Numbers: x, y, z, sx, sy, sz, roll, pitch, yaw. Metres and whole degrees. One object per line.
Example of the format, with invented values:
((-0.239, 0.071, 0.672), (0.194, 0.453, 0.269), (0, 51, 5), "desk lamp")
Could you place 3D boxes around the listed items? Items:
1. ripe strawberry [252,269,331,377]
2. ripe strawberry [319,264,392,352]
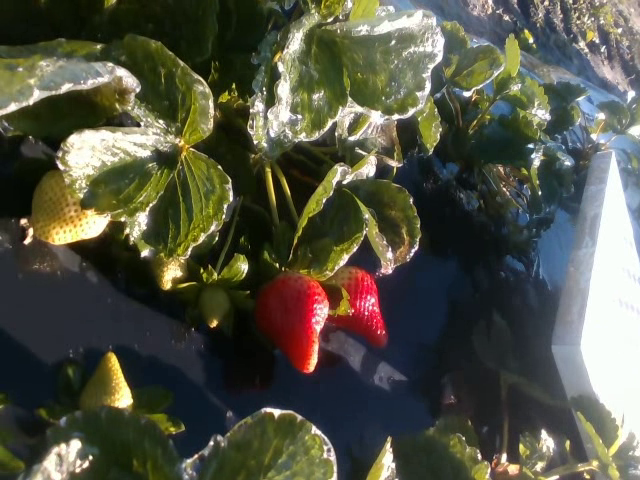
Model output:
((-0.009, 0.052, 0.363), (0.040, 0.070, 0.052), (-12, -18, 28), "ripe strawberry")
((0.030, 0.042, 0.400), (0.040, 0.059, 0.044), (-11, 28, 39), "ripe strawberry")
